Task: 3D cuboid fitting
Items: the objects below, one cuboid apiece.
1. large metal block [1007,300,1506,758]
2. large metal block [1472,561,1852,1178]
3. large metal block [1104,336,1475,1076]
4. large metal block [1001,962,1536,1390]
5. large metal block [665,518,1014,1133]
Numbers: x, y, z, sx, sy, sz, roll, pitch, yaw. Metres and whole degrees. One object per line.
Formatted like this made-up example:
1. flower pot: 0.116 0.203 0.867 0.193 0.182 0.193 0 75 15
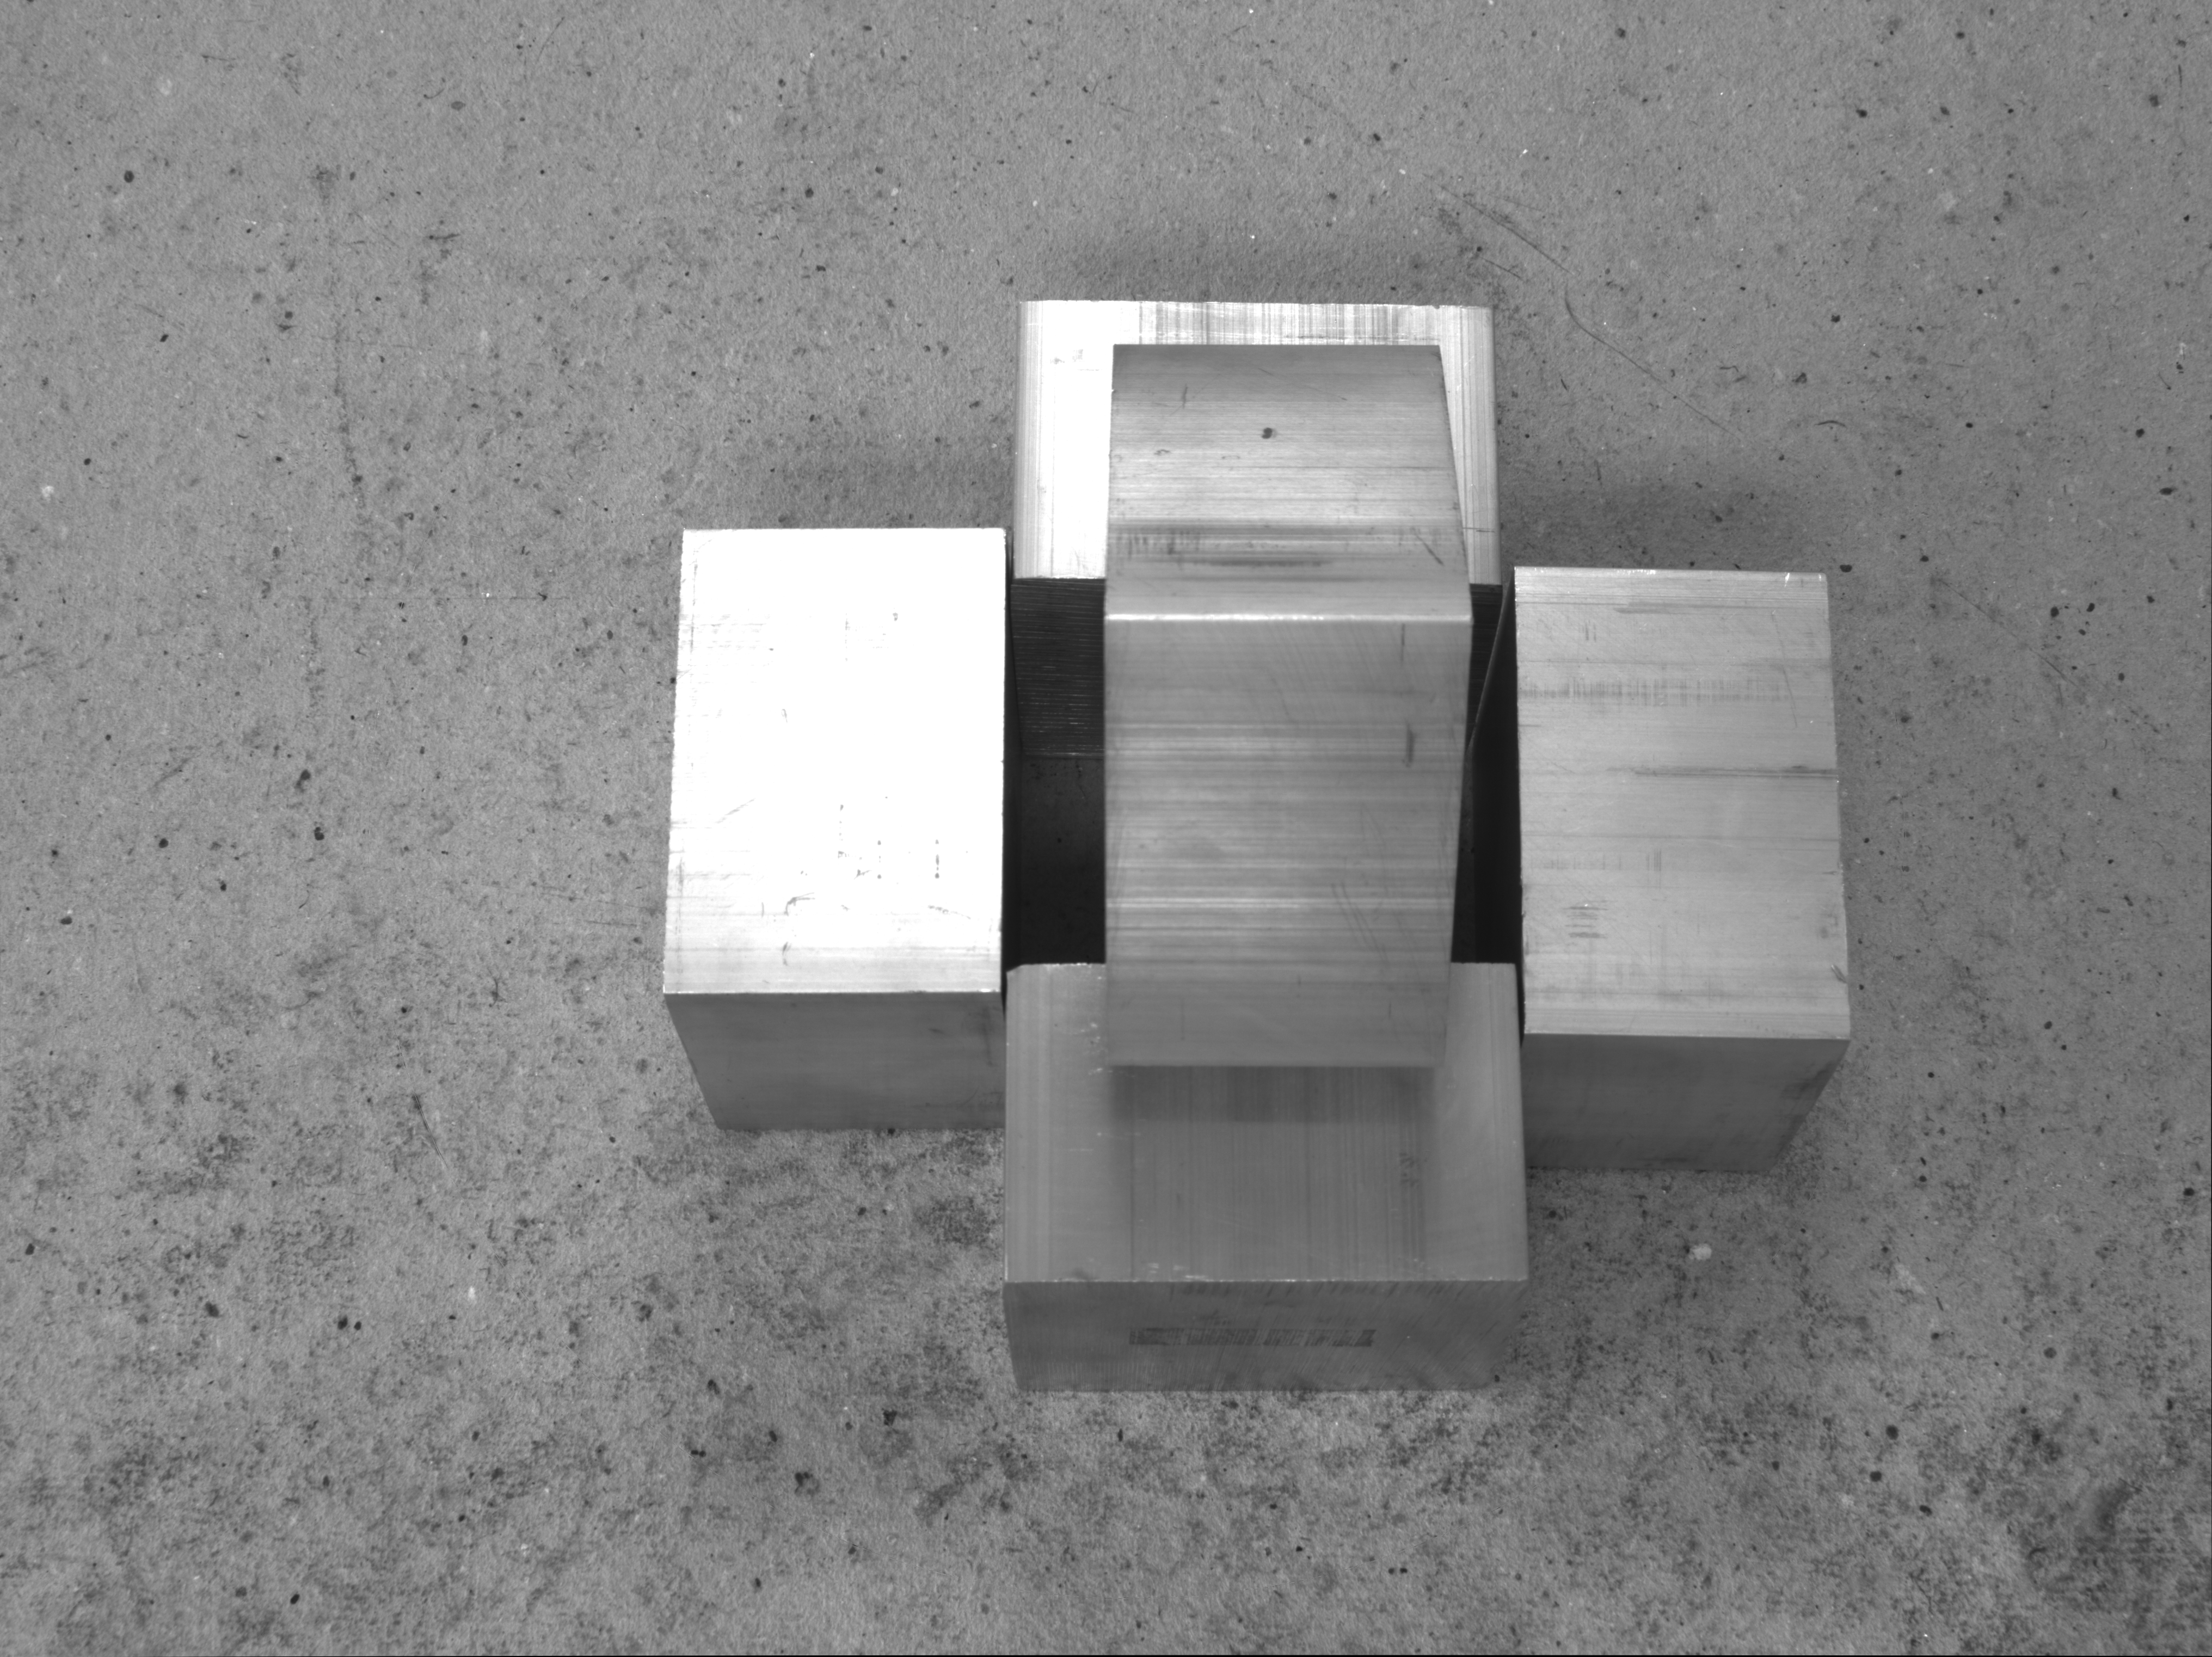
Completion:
1. large metal block: 0.025 -0.050 0.634 0.080 0.080 0.050 1 70 0
2. large metal block: 0.090 0.009 0.612 0.050 0.080 0.080 1 70 0
3. large metal block: 0.026 -0.019 0.553 0.050 0.080 0.080 1 36 1
4. large metal block: 0.025 0.058 0.595 0.080 0.080 0.050 0 70 0
5. large metal block: -0.042 0.002 0.614 0.050 0.080 0.080 0 70 0
